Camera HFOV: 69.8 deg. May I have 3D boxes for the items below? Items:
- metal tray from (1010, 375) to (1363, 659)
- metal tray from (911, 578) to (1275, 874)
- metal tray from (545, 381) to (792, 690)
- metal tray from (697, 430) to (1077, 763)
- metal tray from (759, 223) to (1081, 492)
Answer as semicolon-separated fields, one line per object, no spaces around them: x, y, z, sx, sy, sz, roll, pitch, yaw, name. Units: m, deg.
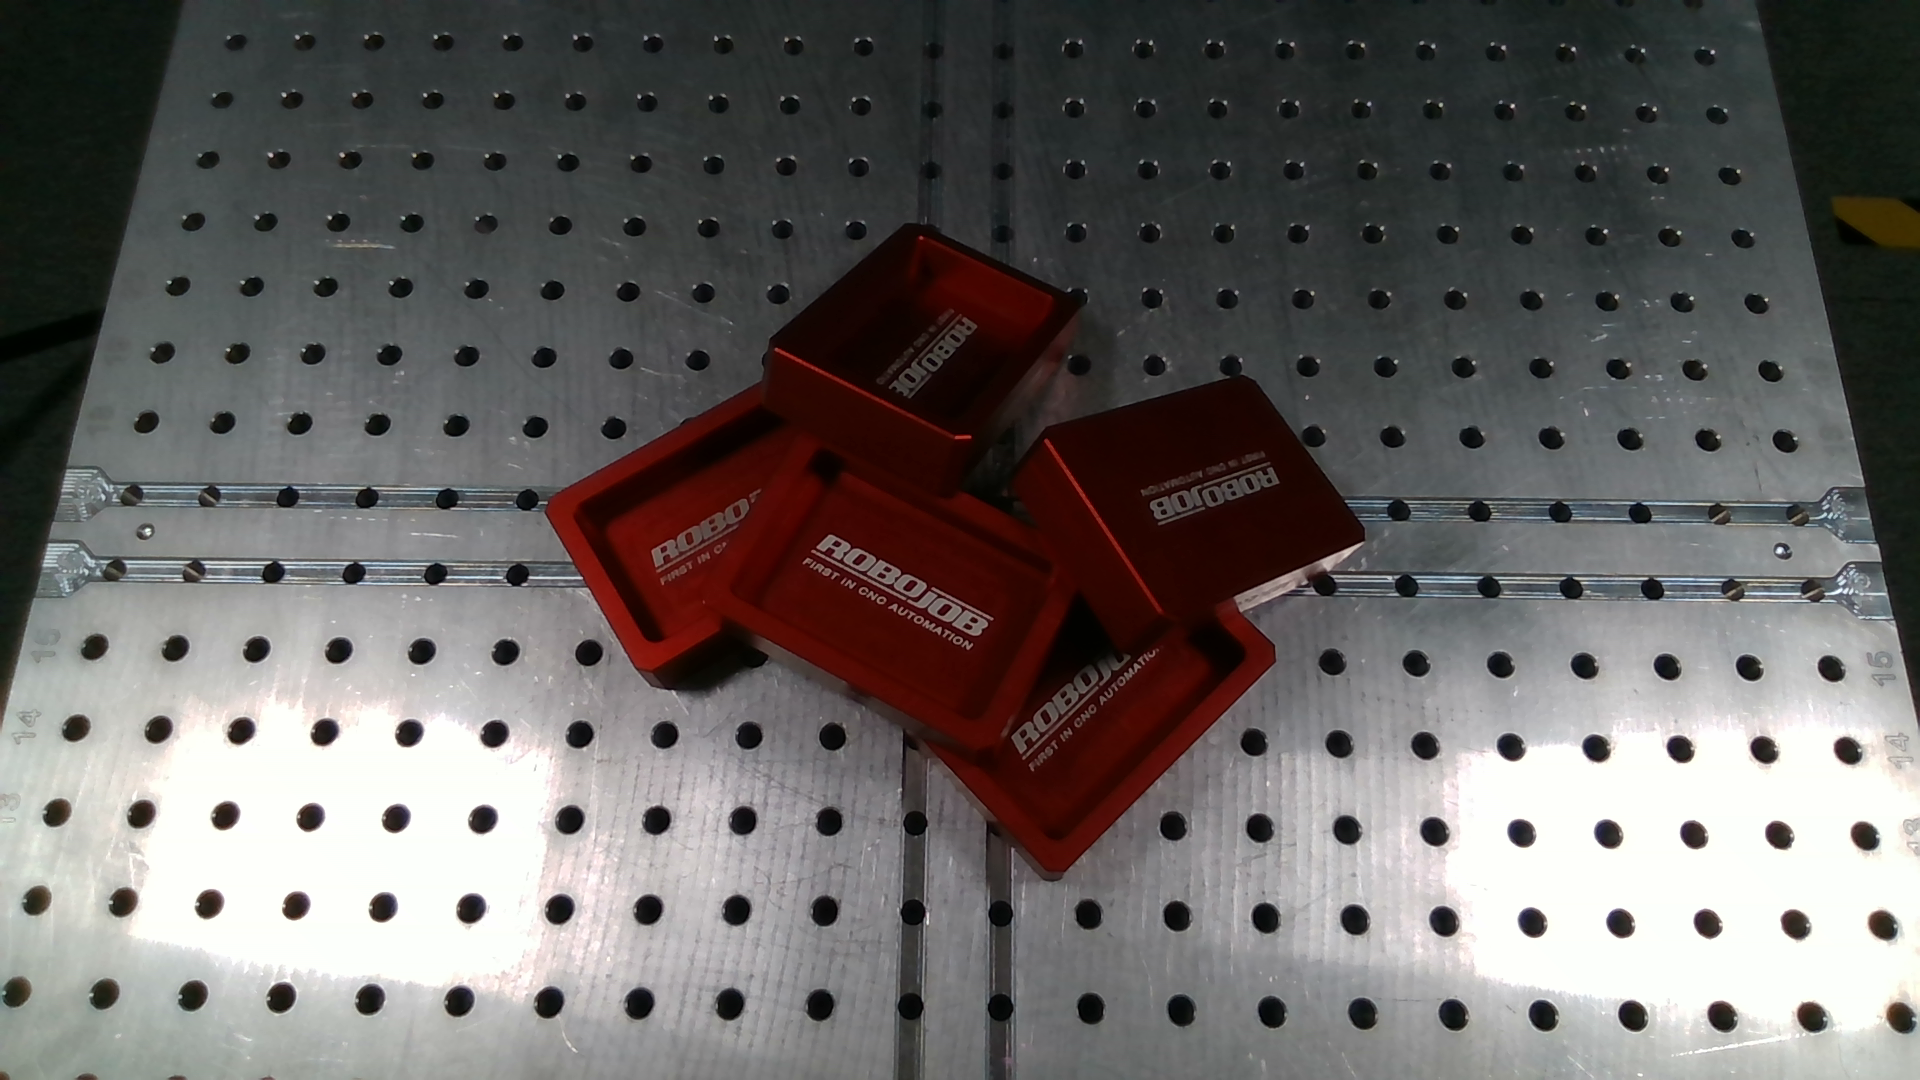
0.095;-0.014;0.561;0.130;0.030;0.090;-18;68;-38;metal tray
0.052;0.062;0.565;0.130;0.030;0.090;-42;75;-13;metal tray
-0.098;-0.008;0.590;0.130;0.030;0.090;-31;73;-11;metal tray
-0.026;0.020;0.549;0.130;0.030;0.090;27;73;9;metal tray
-0.014;-0.082;0.585;0.090;0.030;0.130;27;42;9;metal tray
